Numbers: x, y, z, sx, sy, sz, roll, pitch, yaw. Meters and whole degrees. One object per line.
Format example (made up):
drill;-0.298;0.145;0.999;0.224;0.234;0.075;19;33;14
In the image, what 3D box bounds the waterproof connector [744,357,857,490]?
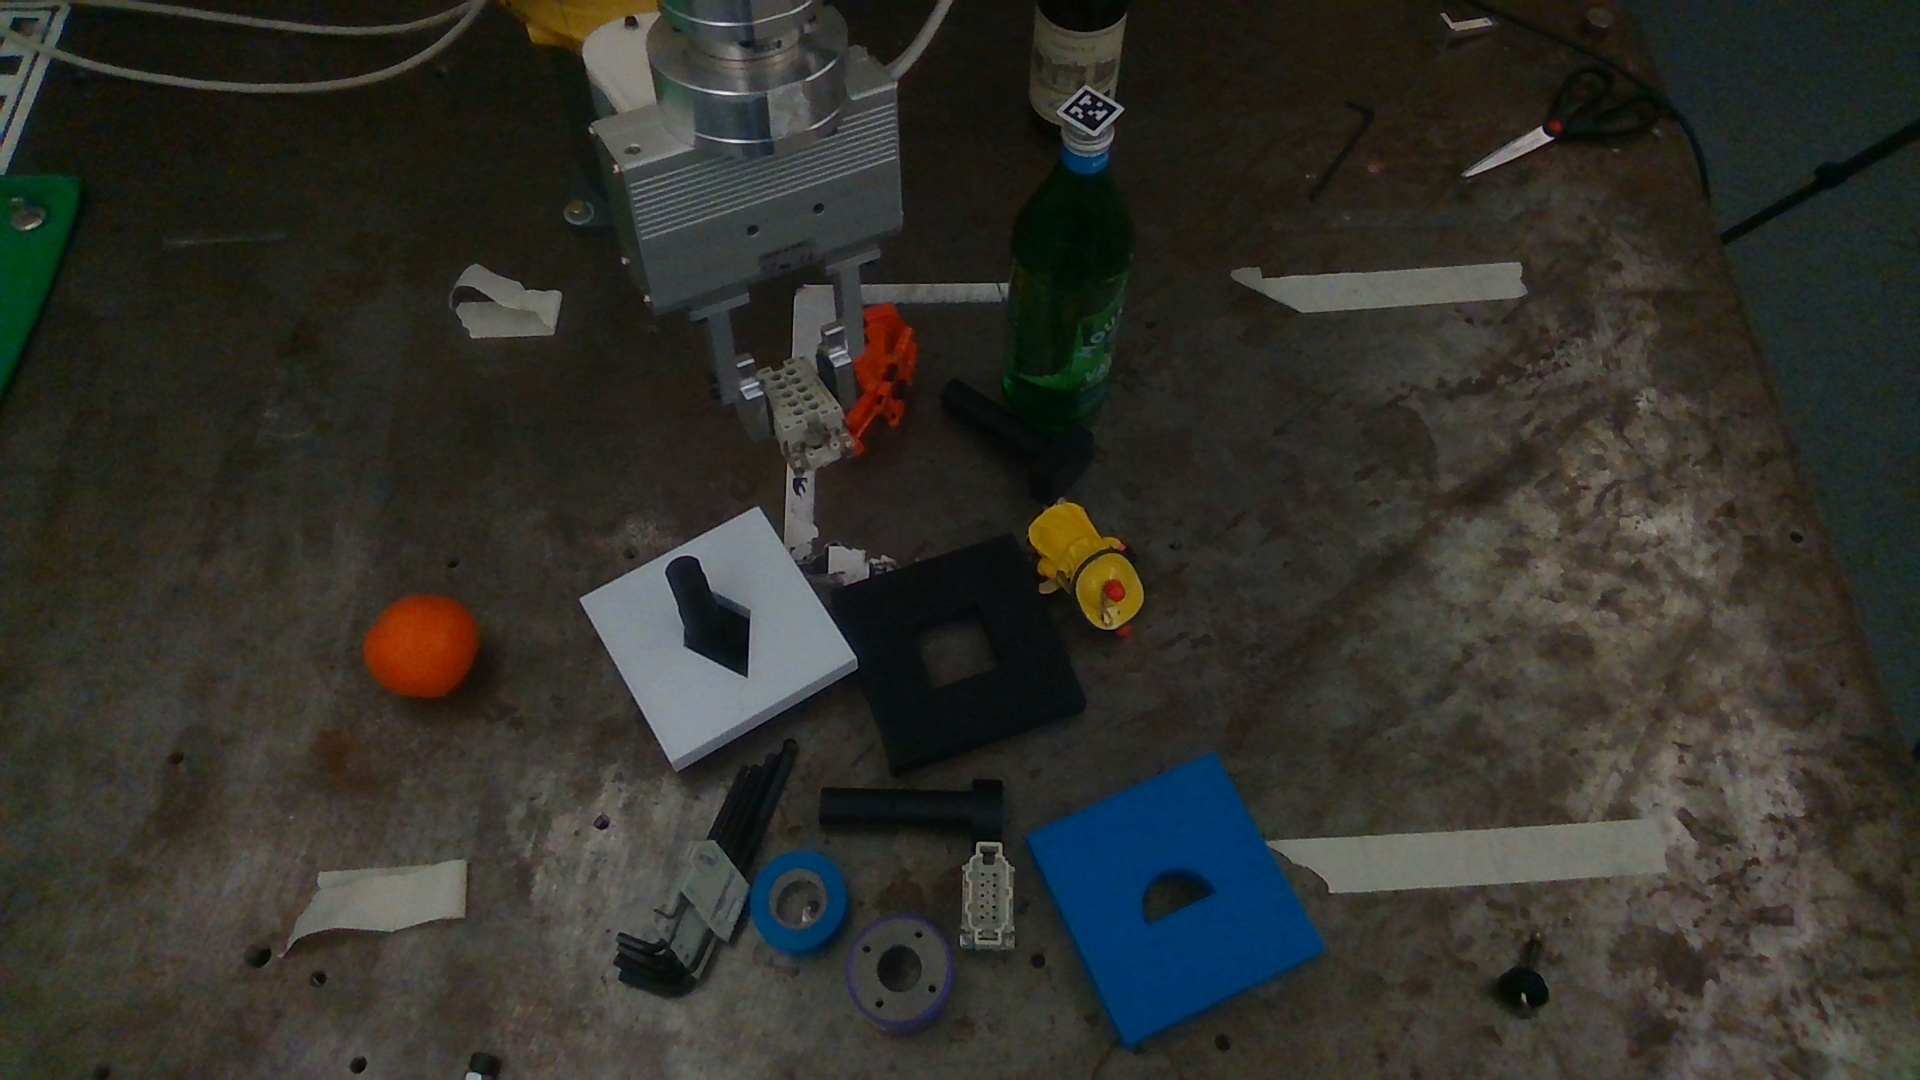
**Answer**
waterproof connector;-0.079;-0.058;0.686;0.036;0.038;0.069;-23;55;-14
